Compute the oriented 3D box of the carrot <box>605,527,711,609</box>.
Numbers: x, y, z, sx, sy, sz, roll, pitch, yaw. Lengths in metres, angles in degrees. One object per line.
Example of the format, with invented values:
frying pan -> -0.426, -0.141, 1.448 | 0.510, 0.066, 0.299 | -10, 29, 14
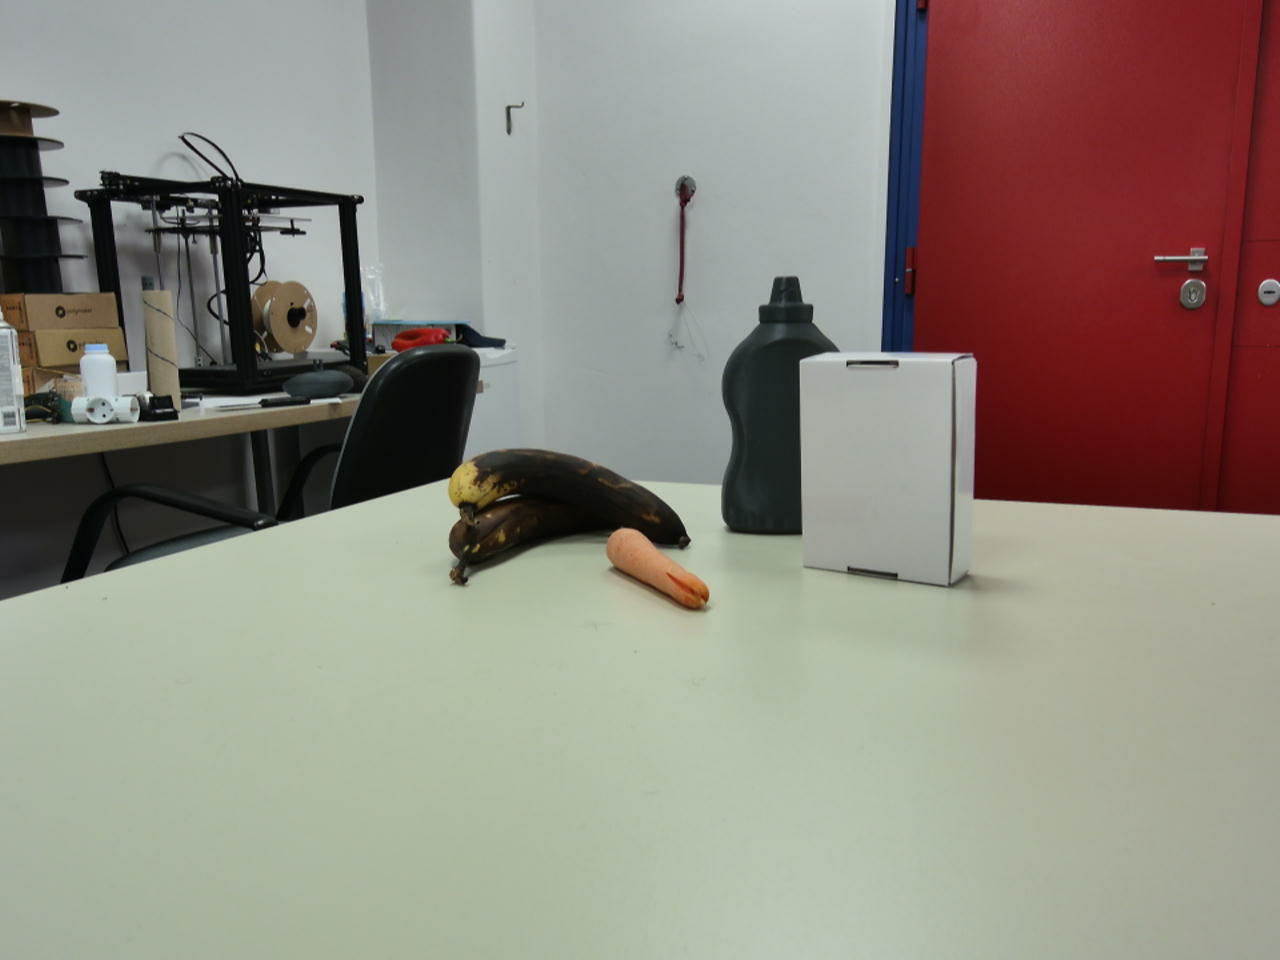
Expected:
carrot -> 0.010, 0.055, 0.654 | 0.030, 0.032, 0.136 | -2, 8, -22
